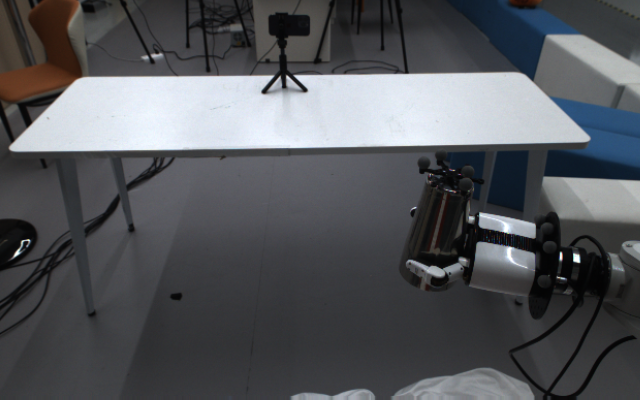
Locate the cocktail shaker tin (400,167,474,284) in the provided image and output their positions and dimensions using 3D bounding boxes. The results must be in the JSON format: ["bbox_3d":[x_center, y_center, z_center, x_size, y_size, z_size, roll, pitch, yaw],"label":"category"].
[{"bbox_3d":[0.177,0.042,0.721,0.093,0.170,0.093,3,34,-2],"label":"cocktail shaker tin"}]
